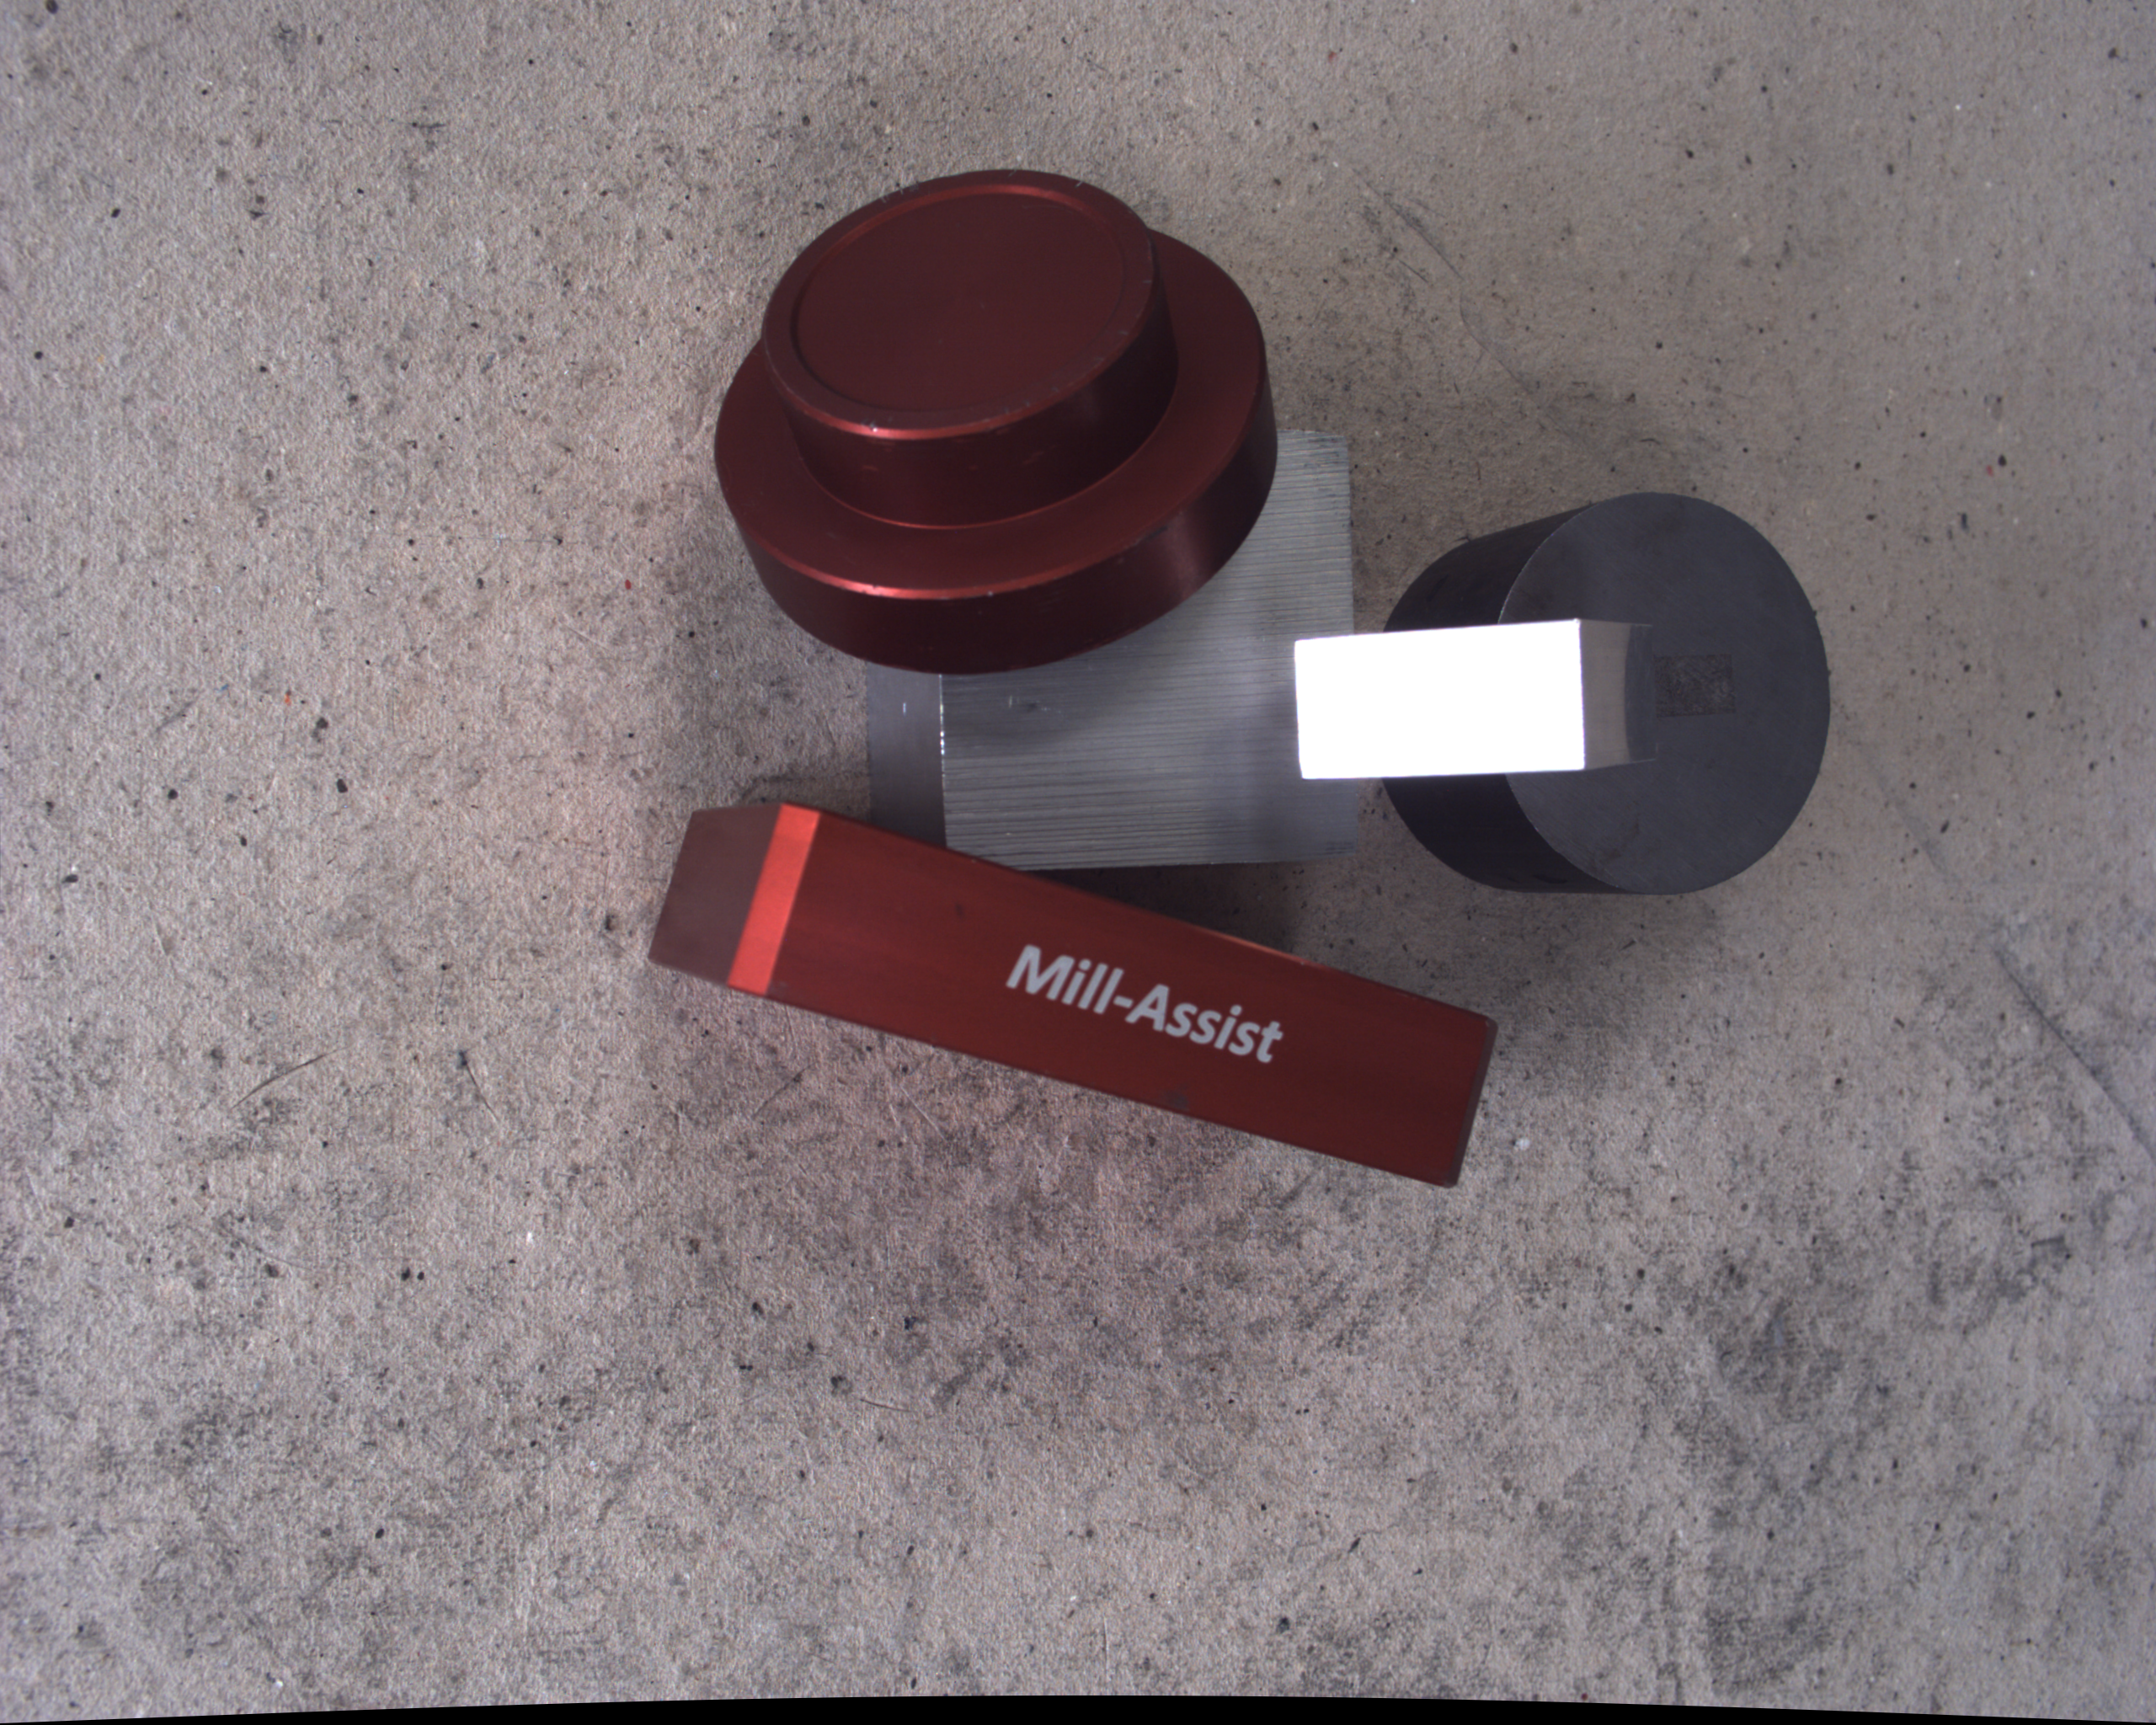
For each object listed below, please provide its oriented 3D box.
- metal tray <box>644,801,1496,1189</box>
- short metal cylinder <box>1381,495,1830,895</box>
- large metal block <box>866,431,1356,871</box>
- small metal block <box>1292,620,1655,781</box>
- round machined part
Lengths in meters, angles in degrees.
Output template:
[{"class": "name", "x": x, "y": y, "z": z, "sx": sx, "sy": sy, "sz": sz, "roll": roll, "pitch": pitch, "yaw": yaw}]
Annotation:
[{"class": "metal tray", "x": -0.004, "y": 0.023, "z": 0.374, "sx": 0.131, "sy": 0.090, "sz": 0.030, "roll": 18, "pitch": 85, "yaw": -19}, {"class": "short metal cylinder", "x": 0.108, "y": -0.033, "z": 0.438, "sx": 0.081, "sy": 0.050, "sz": 0.080, "roll": 0, "pitch": 90, "yaw": -20}, {"class": "large metal block", "x": 0.005, "y": -0.040, "z": 0.400, "sx": 0.081, "sy": 0.050, "sz": 0.080, "roll": -2, "pitch": 91, "yaw": -20}, {"class": "small metal block", "x": 0.072, "y": -0.029, "z": 0.375, "sx": 0.050, "sy": 0.050, "sz": 0.025, "roll": -10, "pitch": 98, "yaw": -61}, {"class": "round machined part", "x": -0.017, "y": -0.083, "z": 0.365, "sx": 0.098, "sy": 0.098, "sz": 0.042, "roll": -38, "pitch": 147, "yaw": -16}]
